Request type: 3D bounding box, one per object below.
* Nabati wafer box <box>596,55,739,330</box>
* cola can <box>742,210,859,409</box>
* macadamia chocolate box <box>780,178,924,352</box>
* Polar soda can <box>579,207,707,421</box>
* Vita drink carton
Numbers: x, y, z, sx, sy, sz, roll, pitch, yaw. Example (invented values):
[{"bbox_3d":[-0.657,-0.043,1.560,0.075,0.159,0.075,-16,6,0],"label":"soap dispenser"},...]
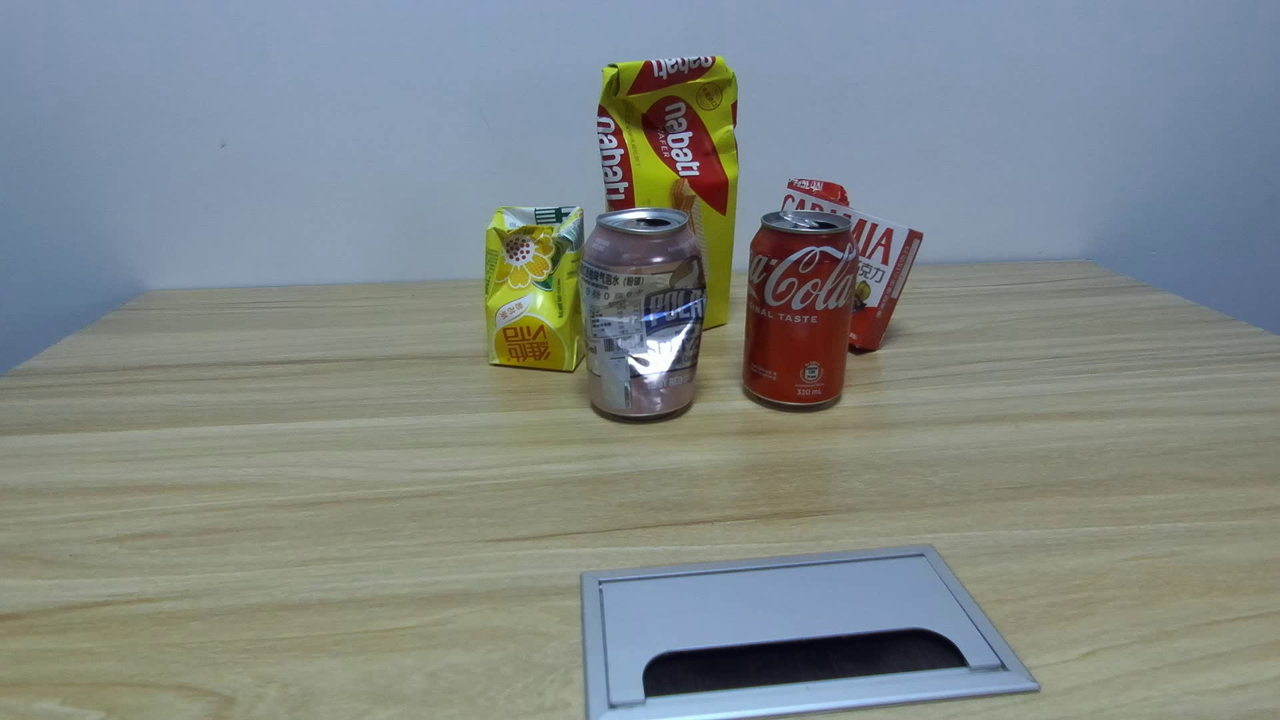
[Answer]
[{"bbox_3d":[0.025,-0.117,0.537,0.114,0.205,0.042,-18,29,-32],"label":"Nabati wafer box"},{"bbox_3d":[0.100,-0.033,0.450,0.068,0.120,0.068,1,25,0],"label":"cola can"},{"bbox_3d":[0.155,-0.078,0.561,0.056,0.112,0.126,-10,26,-26],"label":"macadamia chocolate box"},{"bbox_3d":[0.003,-0.027,0.436,0.074,0.122,0.067,4,24,12],"label":"Polar soda can"},{"bbox_3d":[-0.075,-0.051,0.504,0.071,0.110,0.046,4,21,12],"label":"Vita drink carton"}]
